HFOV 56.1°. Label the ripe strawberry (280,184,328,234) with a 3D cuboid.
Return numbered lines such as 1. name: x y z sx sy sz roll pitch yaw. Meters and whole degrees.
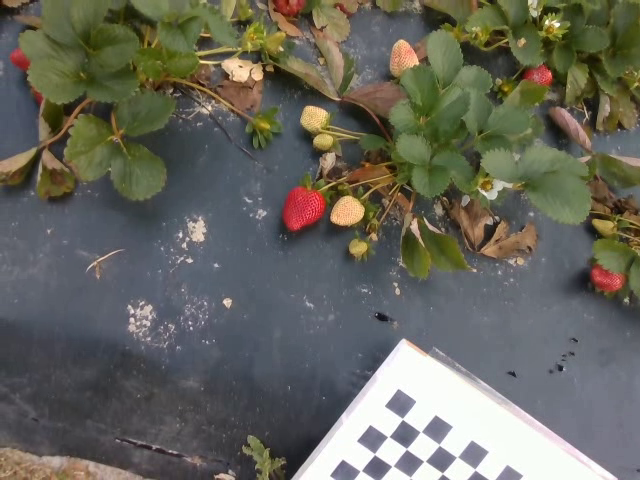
1. ripe strawberry: -0.018 -0.030 0.592 0.050 0.059 0.034 24 -40 -3
